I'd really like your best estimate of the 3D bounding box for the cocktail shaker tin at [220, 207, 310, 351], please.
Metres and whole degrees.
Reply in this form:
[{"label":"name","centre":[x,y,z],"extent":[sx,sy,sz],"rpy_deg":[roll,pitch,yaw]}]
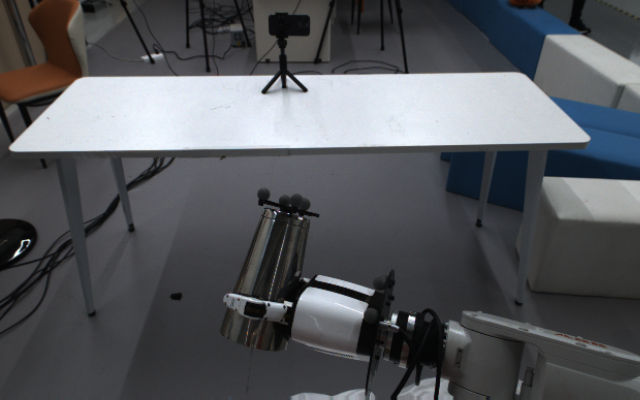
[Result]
[{"label":"cocktail shaker tin","centre":[-0.065,0.102,0.643],"extent":[0.093,0.170,0.093],"rpy_deg":[15,-4,1]}]
